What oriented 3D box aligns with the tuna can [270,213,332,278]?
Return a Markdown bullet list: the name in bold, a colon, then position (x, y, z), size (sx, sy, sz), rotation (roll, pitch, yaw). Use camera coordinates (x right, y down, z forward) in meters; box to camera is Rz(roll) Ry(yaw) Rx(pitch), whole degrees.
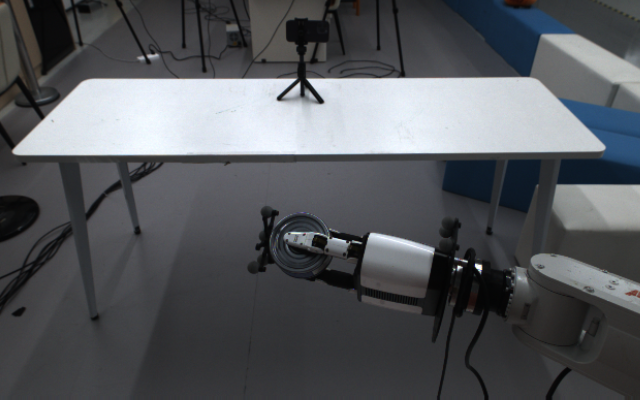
- **tuna can**: position (-0.021, 0.064, 0.649), size (0.085, 0.034, 0.085), rotation (-2, 69, 6)
